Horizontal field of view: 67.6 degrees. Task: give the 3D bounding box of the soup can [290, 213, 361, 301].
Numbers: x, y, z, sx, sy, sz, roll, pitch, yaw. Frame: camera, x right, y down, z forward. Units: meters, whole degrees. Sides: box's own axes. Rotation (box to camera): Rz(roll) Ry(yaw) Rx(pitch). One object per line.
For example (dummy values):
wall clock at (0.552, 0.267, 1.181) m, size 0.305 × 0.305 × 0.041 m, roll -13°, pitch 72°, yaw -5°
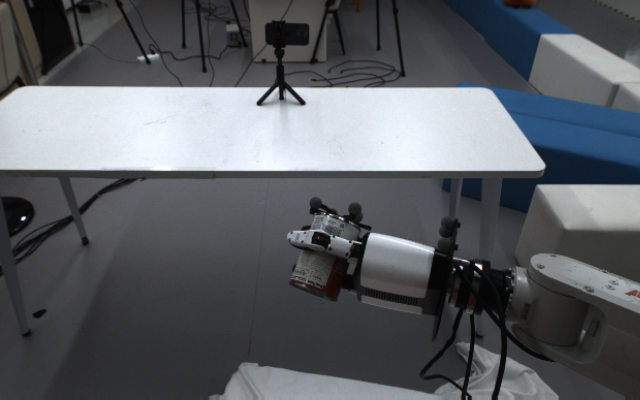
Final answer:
soup can at (0.009, 0.075, 0.643) m, size 0.067 × 0.067 × 0.101 m, roll 15°, pitch 74°, yaw 18°
